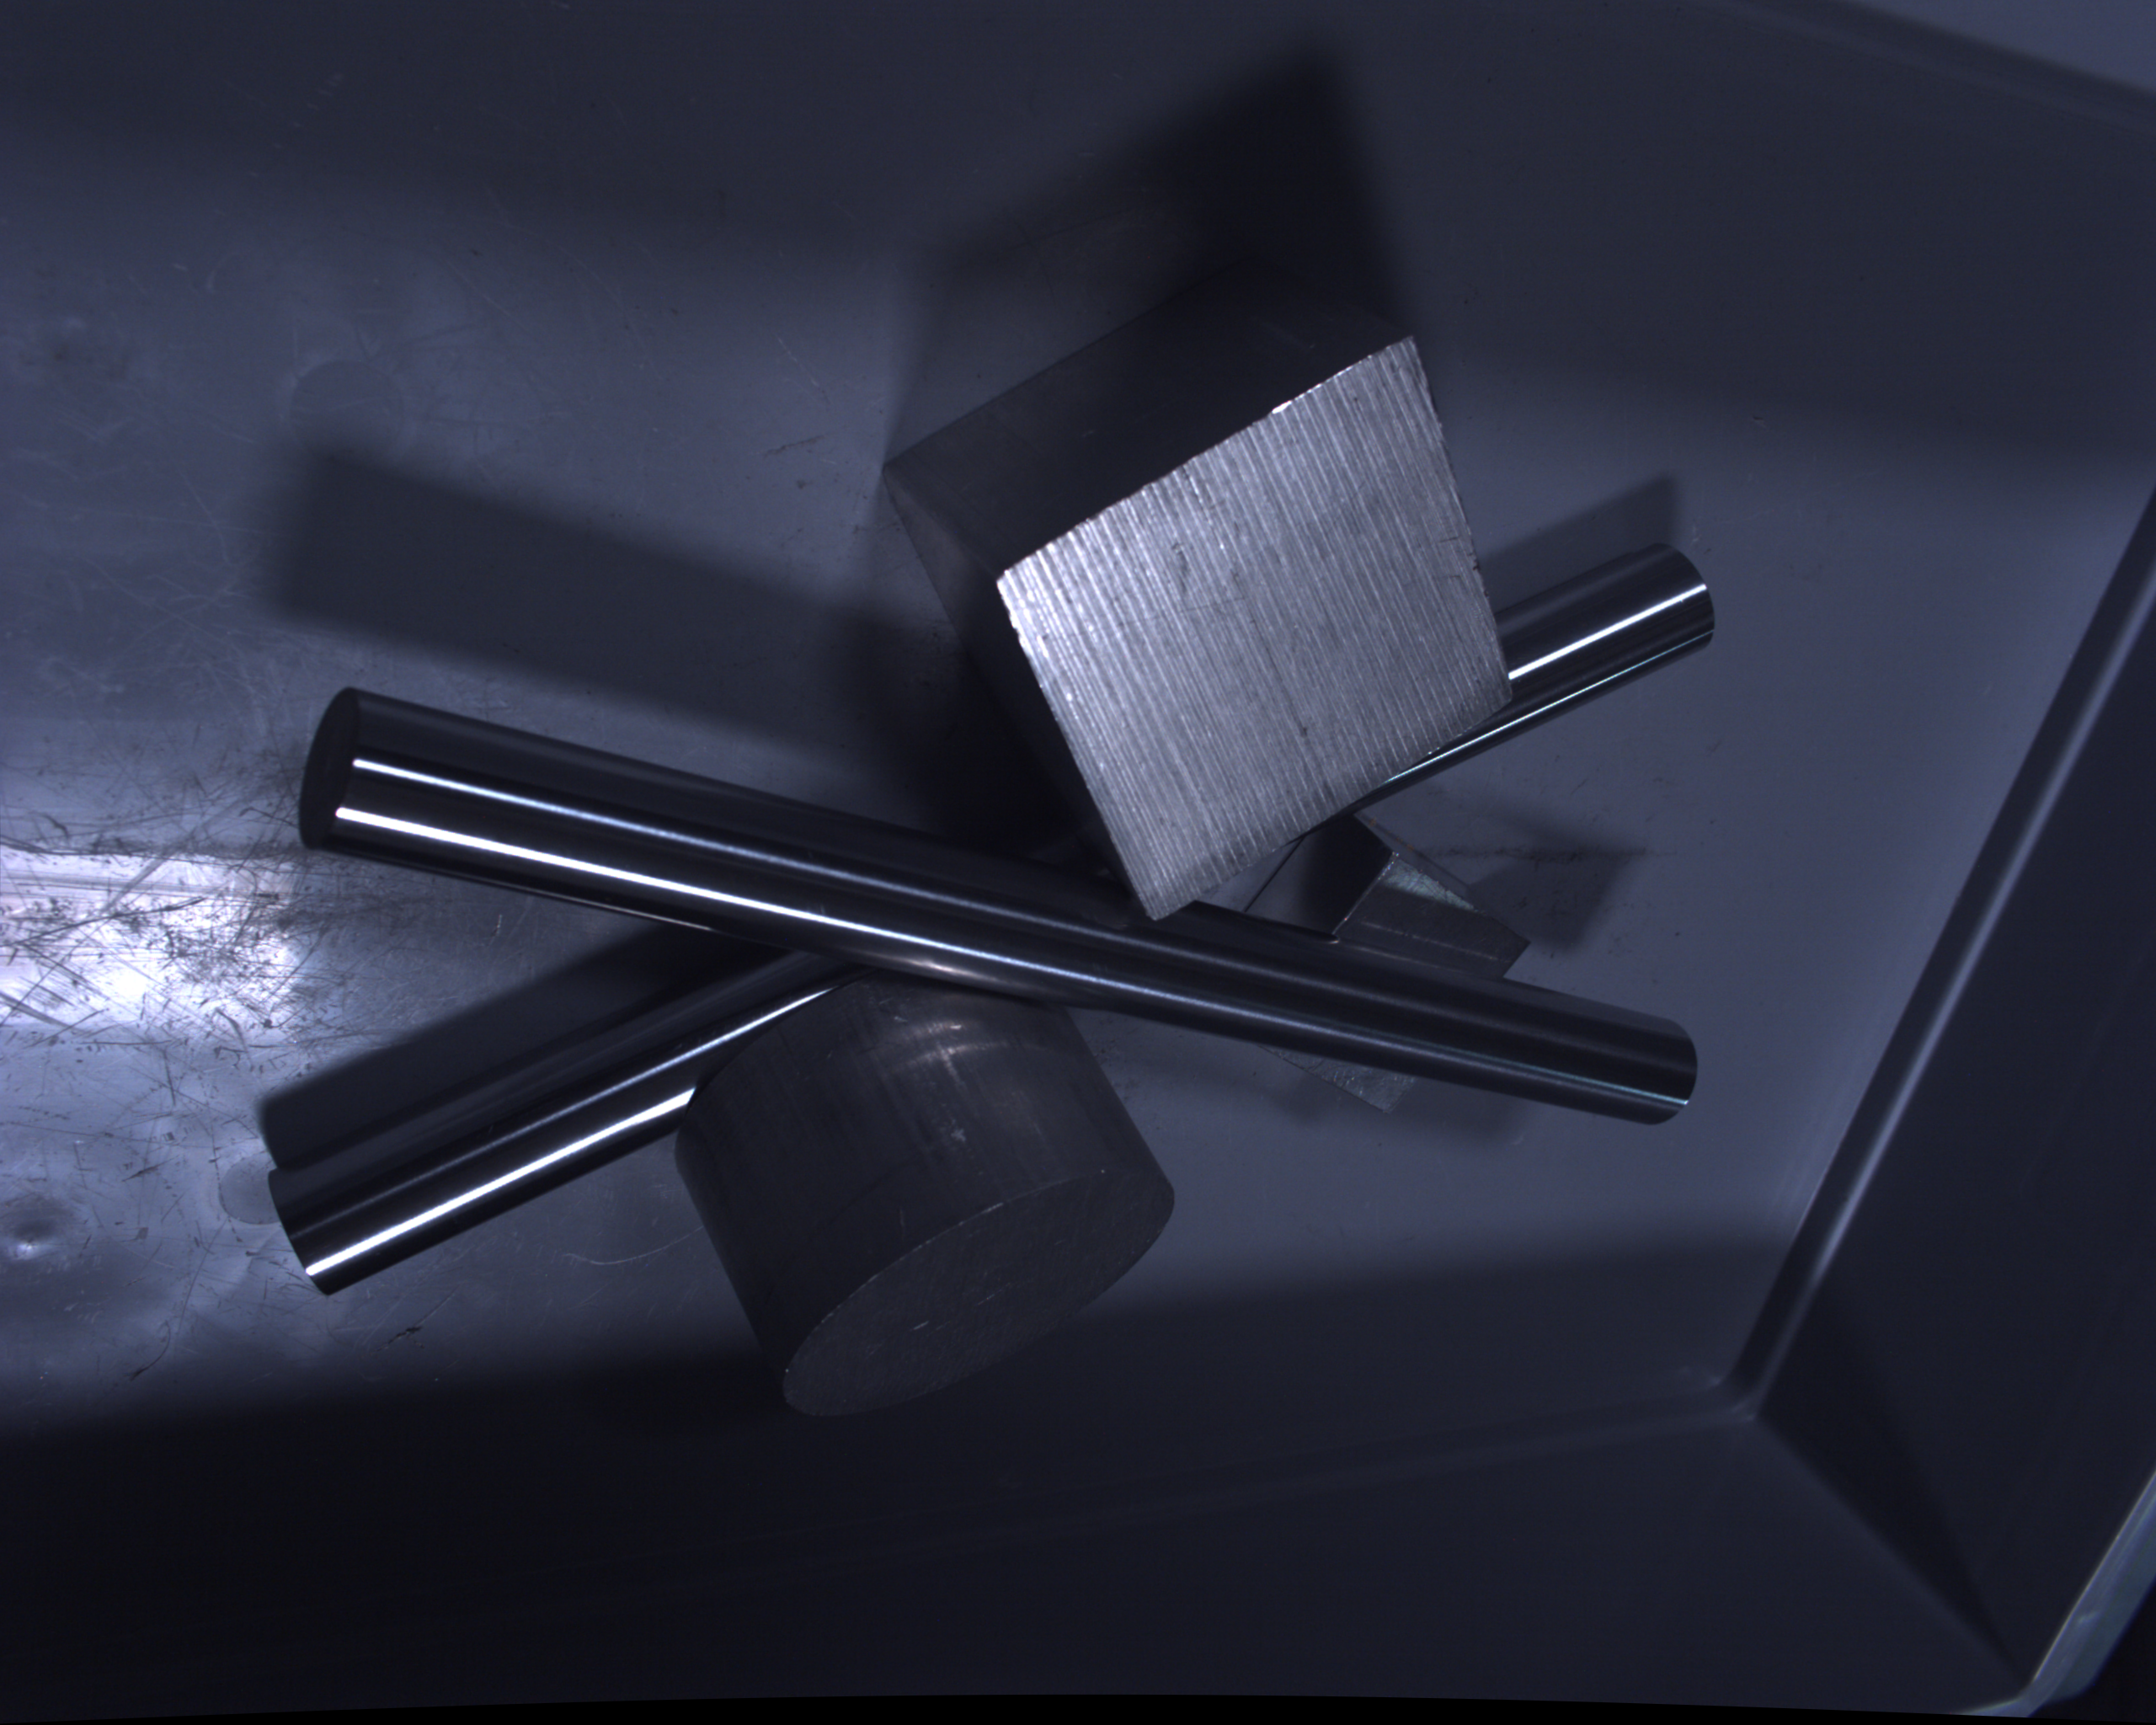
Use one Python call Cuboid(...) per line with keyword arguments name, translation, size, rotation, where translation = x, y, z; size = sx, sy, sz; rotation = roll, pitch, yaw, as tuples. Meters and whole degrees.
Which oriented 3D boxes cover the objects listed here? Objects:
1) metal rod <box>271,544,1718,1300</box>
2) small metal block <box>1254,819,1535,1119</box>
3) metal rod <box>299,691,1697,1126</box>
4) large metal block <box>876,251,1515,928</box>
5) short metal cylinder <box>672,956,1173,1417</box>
Cuboid(name="metal rod", translation=(-0.005, 0.005, 0.408), size=(0.302, 0.025, 0.025), rotation=(-25, 128, -14))
Cuboid(name="small metal block", translation=(0.063, 0.022, 0.454), size=(0.050, 0.025, 0.050), rotation=(30, 102, -38))
Cuboid(name="metal rod", translation=(0.011, 0.017, 0.392), size=(0.302, 0.025, 0.025), rotation=(14, 111, -34))
Cuboid(name="large metal block", translation=(0.023, -0.049, 0.374), size=(0.080, 0.050, 0.080), rotation=(-31, 129, -8))
Cuboid(name="short metal cylinder", translation=(-0.029, 0.061, 0.396), size=(0.081, 0.050, 0.080), rotation=(-25, 152, -14))
